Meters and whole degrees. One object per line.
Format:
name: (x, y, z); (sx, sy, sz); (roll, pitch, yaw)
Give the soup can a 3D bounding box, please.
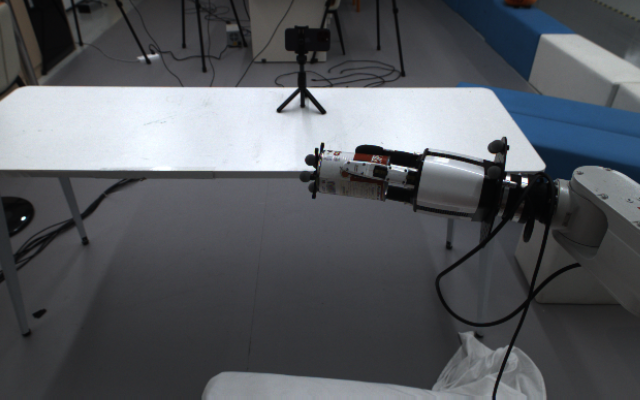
soup can: (0.053, -0.038, 0.727); (0.101, 0.067, 0.067); (7, 35, 10)
